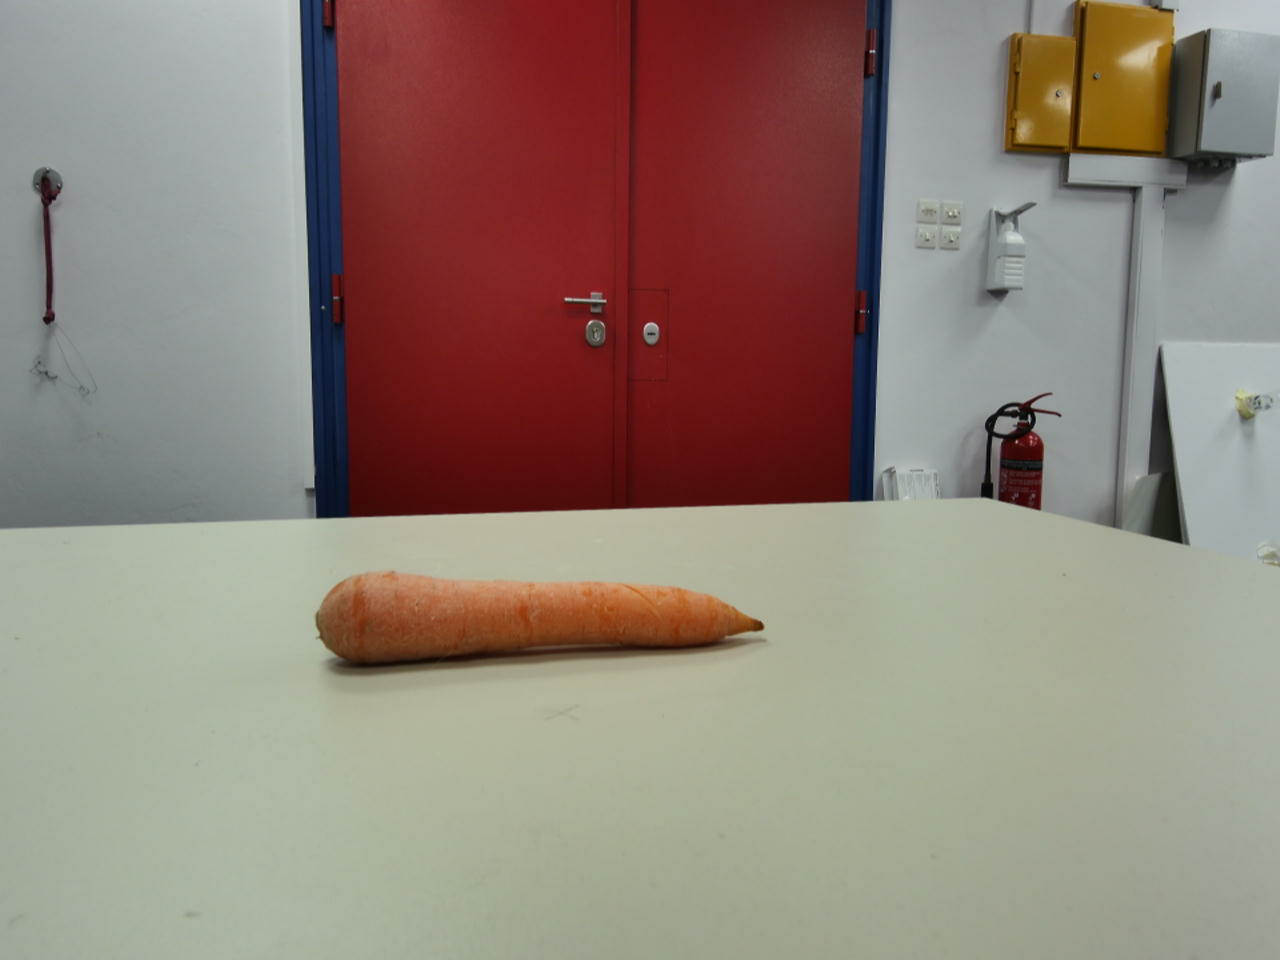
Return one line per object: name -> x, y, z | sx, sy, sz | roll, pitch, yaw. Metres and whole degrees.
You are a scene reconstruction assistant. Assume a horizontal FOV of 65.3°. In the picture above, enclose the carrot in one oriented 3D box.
carrot -> -0.040, 0.057, 0.441 | 0.196, 0.041, 0.039 | -2, 5, -13
